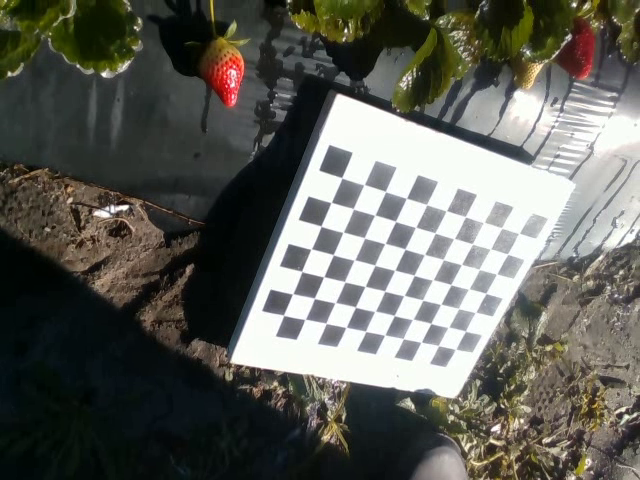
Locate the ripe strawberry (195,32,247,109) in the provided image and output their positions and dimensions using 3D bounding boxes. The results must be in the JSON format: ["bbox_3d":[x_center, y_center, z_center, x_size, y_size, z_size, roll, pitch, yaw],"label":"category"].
[{"bbox_3d":[-0.071,-0.124,0.464,0.039,0.053,0.040,-7,11,-17],"label":"ripe strawberry"}]
